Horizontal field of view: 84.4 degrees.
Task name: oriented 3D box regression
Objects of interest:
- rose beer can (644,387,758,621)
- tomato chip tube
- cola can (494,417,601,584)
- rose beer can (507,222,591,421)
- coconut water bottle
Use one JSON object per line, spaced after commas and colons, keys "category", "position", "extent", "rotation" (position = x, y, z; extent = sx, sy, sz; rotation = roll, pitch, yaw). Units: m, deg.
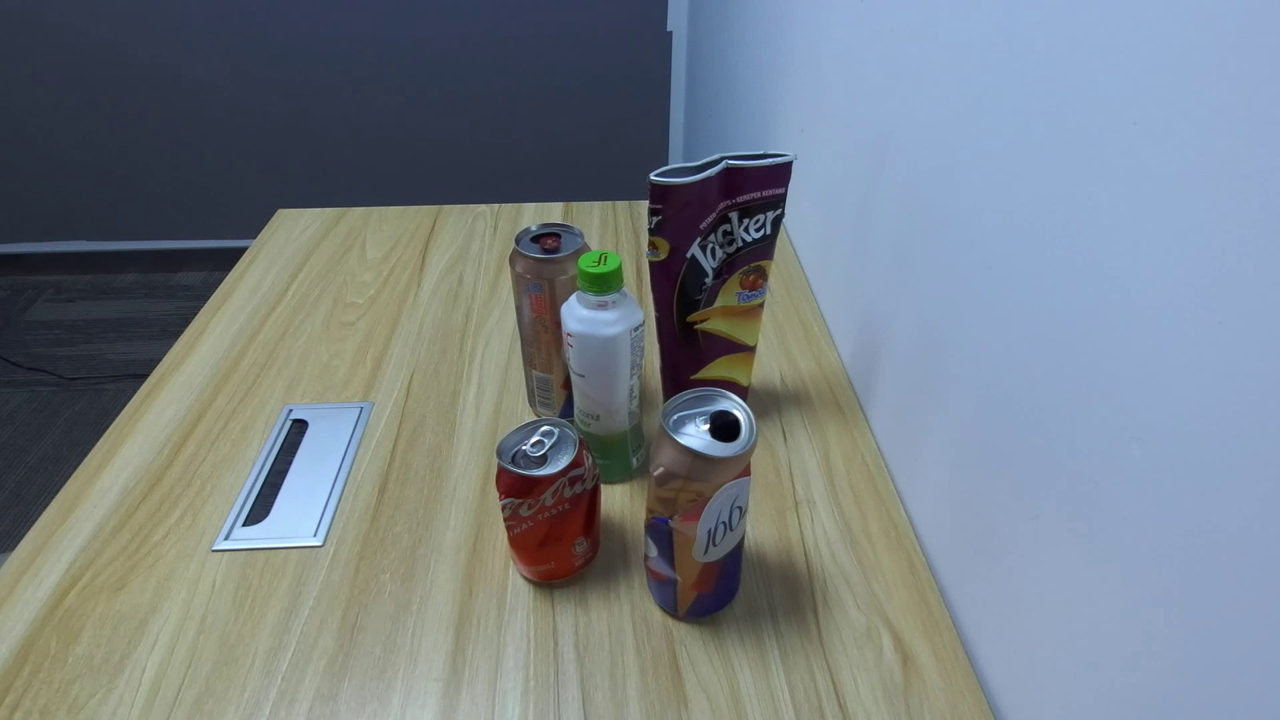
{"category": "rose beer can", "position": [0.037, 0.094, 0.449], "extent": [0.068, 0.162, 0.073], "rotation": [0, 40, 1]}
{"category": "tomato chip tube", "position": [0.056, -0.046, 0.566], "extent": [0.090, 0.236, 0.078], "rotation": [15, 42, 15]}
{"category": "cola can", "position": [-0.062, 0.097, 0.490], "extent": [0.069, 0.112, 0.065], "rotation": [-13, 39, -14]}
{"category": "rose beer can", "position": [-0.069, -0.026, 0.598], "extent": [0.068, 0.169, 0.068], "rotation": [-2, 33, 2]}
{"category": "coconut water bottle", "position": [-0.027, 0.007, 0.534], "extent": [0.063, 0.189, 0.063], "rotation": [0, 37, 0]}
